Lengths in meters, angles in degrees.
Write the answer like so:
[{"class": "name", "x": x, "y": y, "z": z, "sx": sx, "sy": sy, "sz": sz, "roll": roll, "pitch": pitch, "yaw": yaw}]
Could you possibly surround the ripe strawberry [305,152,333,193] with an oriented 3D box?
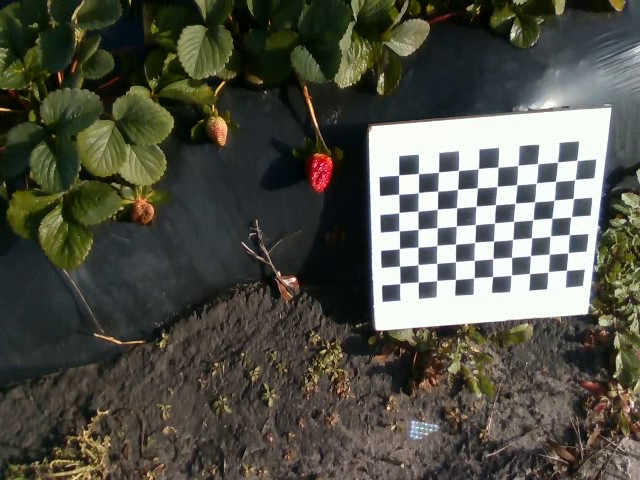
[{"class": "ripe strawberry", "x": -0.001, "y": -0.029, "z": 0.268, "sx": 0.015, "sy": 0.023, "sz": 0.015, "roll": 3, "pitch": -31, "yaw": -5}]
